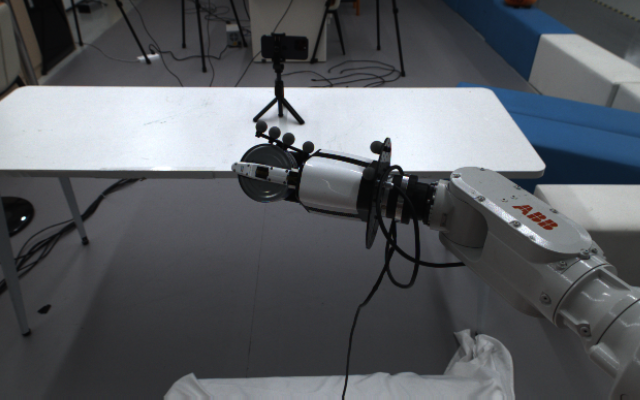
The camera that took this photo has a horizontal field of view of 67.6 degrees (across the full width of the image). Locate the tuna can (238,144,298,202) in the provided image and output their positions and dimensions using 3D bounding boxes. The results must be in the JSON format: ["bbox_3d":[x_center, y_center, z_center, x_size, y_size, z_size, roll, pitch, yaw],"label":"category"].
[{"bbox_3d":[-0.074,-0.041,0.712,0.085,0.085,0.034,13,3,16],"label":"tuna can"}]
